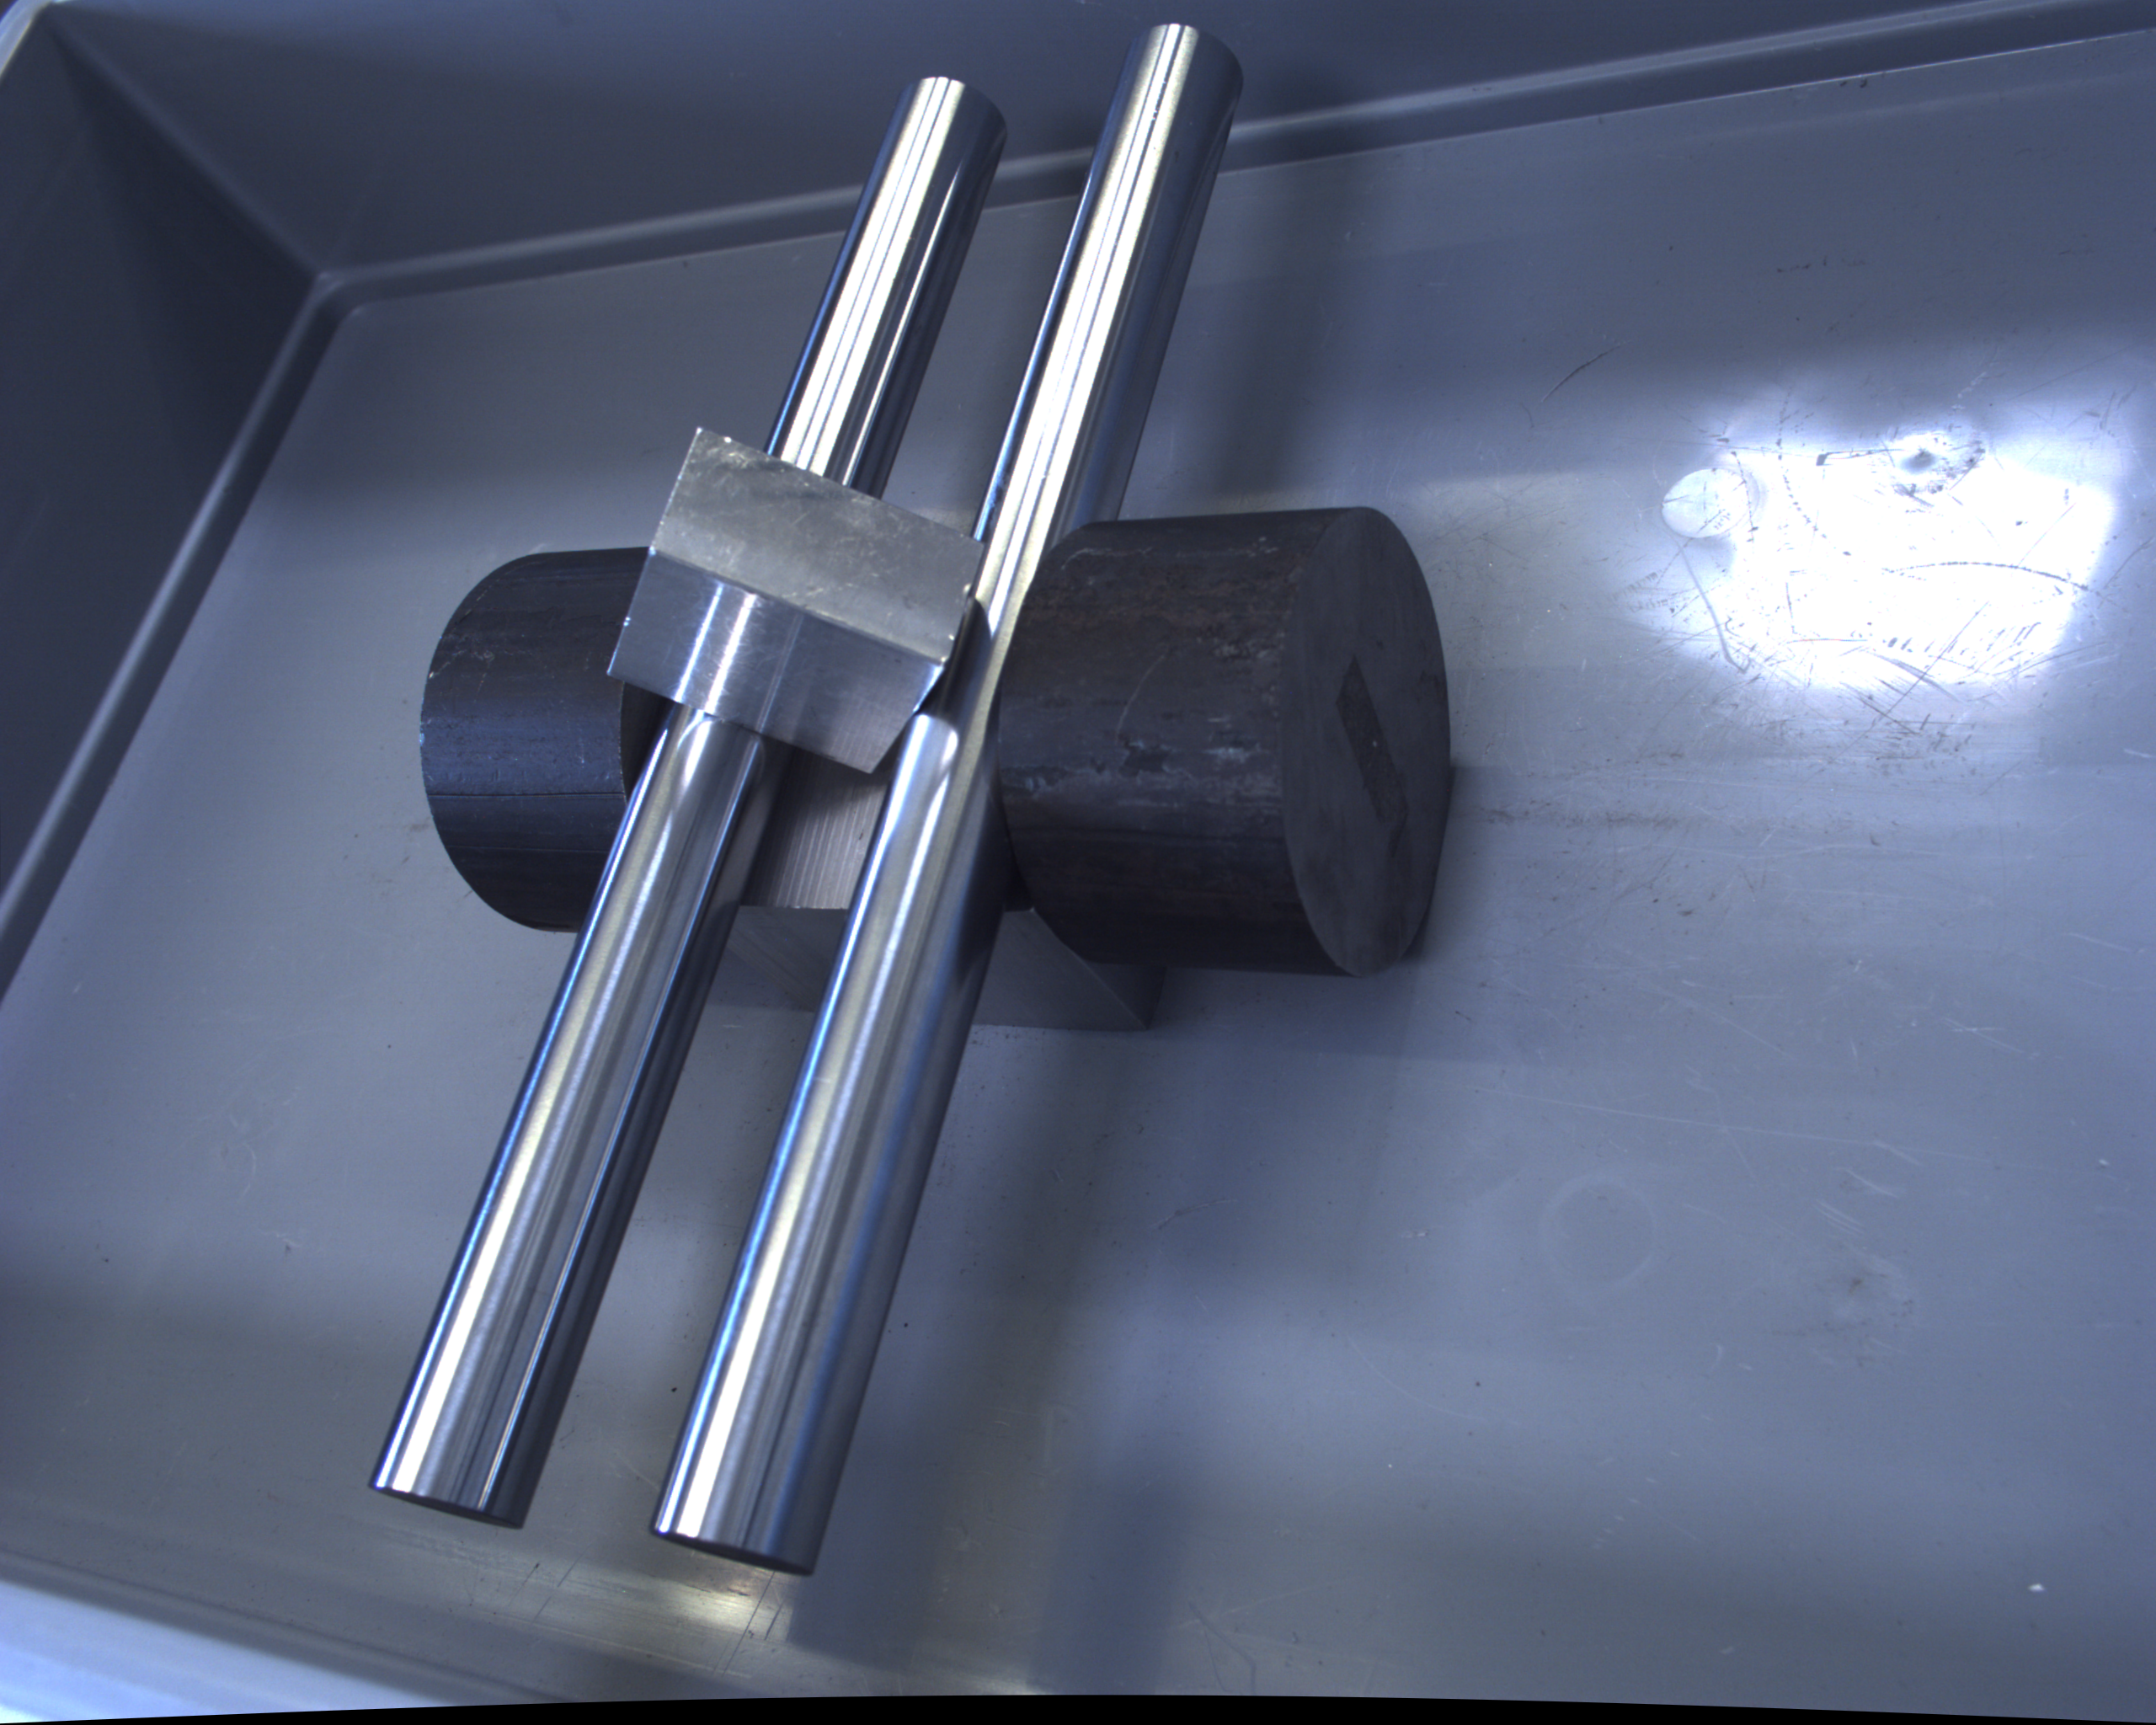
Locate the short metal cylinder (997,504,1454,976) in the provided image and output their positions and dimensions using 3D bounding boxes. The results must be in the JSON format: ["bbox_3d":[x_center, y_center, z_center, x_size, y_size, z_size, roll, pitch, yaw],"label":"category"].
[{"bbox_3d":[0.028,-0.021,0.365,0.050,0.080,0.080,0,62,29],"label":"short metal cylinder"}]

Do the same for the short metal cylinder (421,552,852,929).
[{"bbox_3d":[-0.086,-0.024,0.429,0.050,0.080,0.080,2,63,29],"label":"short metal cylinder"}]

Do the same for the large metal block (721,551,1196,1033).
[{"bbox_3d":[-0.023,-0.015,0.409,0.080,0.050,0.080,1,62,28],"label":"large metal block"}]

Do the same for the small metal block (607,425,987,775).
[{"bbox_3d":[-0.049,-0.043,0.359,0.050,0.050,0.025,137,151,-62],"label":"small metal block"}]

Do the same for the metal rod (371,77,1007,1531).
[{"bbox_3d":[-0.063,-0.029,0.391,0.025,0.025,0.300,1,62,28],"label":"metal rod"}]

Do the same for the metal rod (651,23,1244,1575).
[{"bbox_3d":[-0.014,-0.031,0.366,0.025,0.025,0.300,1,62,28],"label":"metal rod"}]
